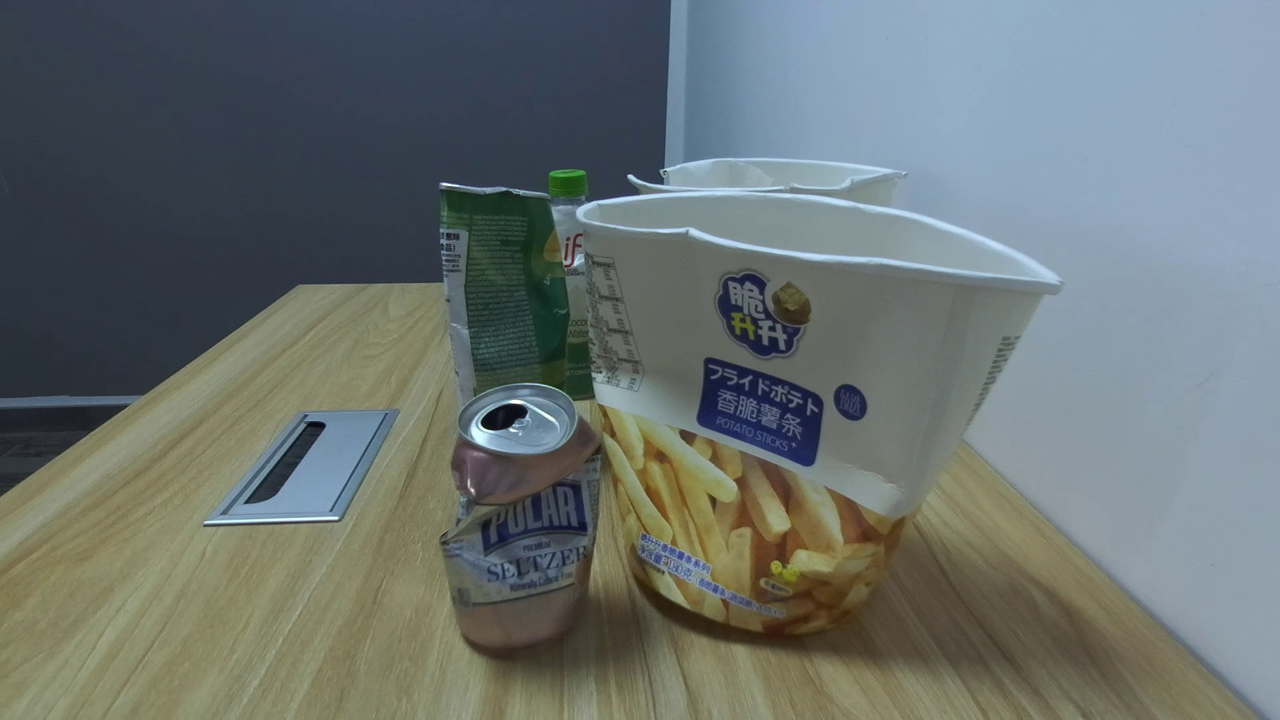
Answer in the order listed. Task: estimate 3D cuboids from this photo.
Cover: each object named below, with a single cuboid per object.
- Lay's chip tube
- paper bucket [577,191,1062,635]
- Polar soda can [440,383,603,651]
[{"bbox_3d":[-0.089,-0.018,0.478,0.079,0.199,0.071,-4,15,-14],"label":"Lay's chip tube"},{"bbox_3d":[0.066,0.022,0.376,0.218,0.199,0.147,3,23,6],"label":"paper bucket"},{"bbox_3d":[-0.058,0.080,0.342,0.066,0.121,0.071,15,23,18],"label":"Polar soda can"}]
